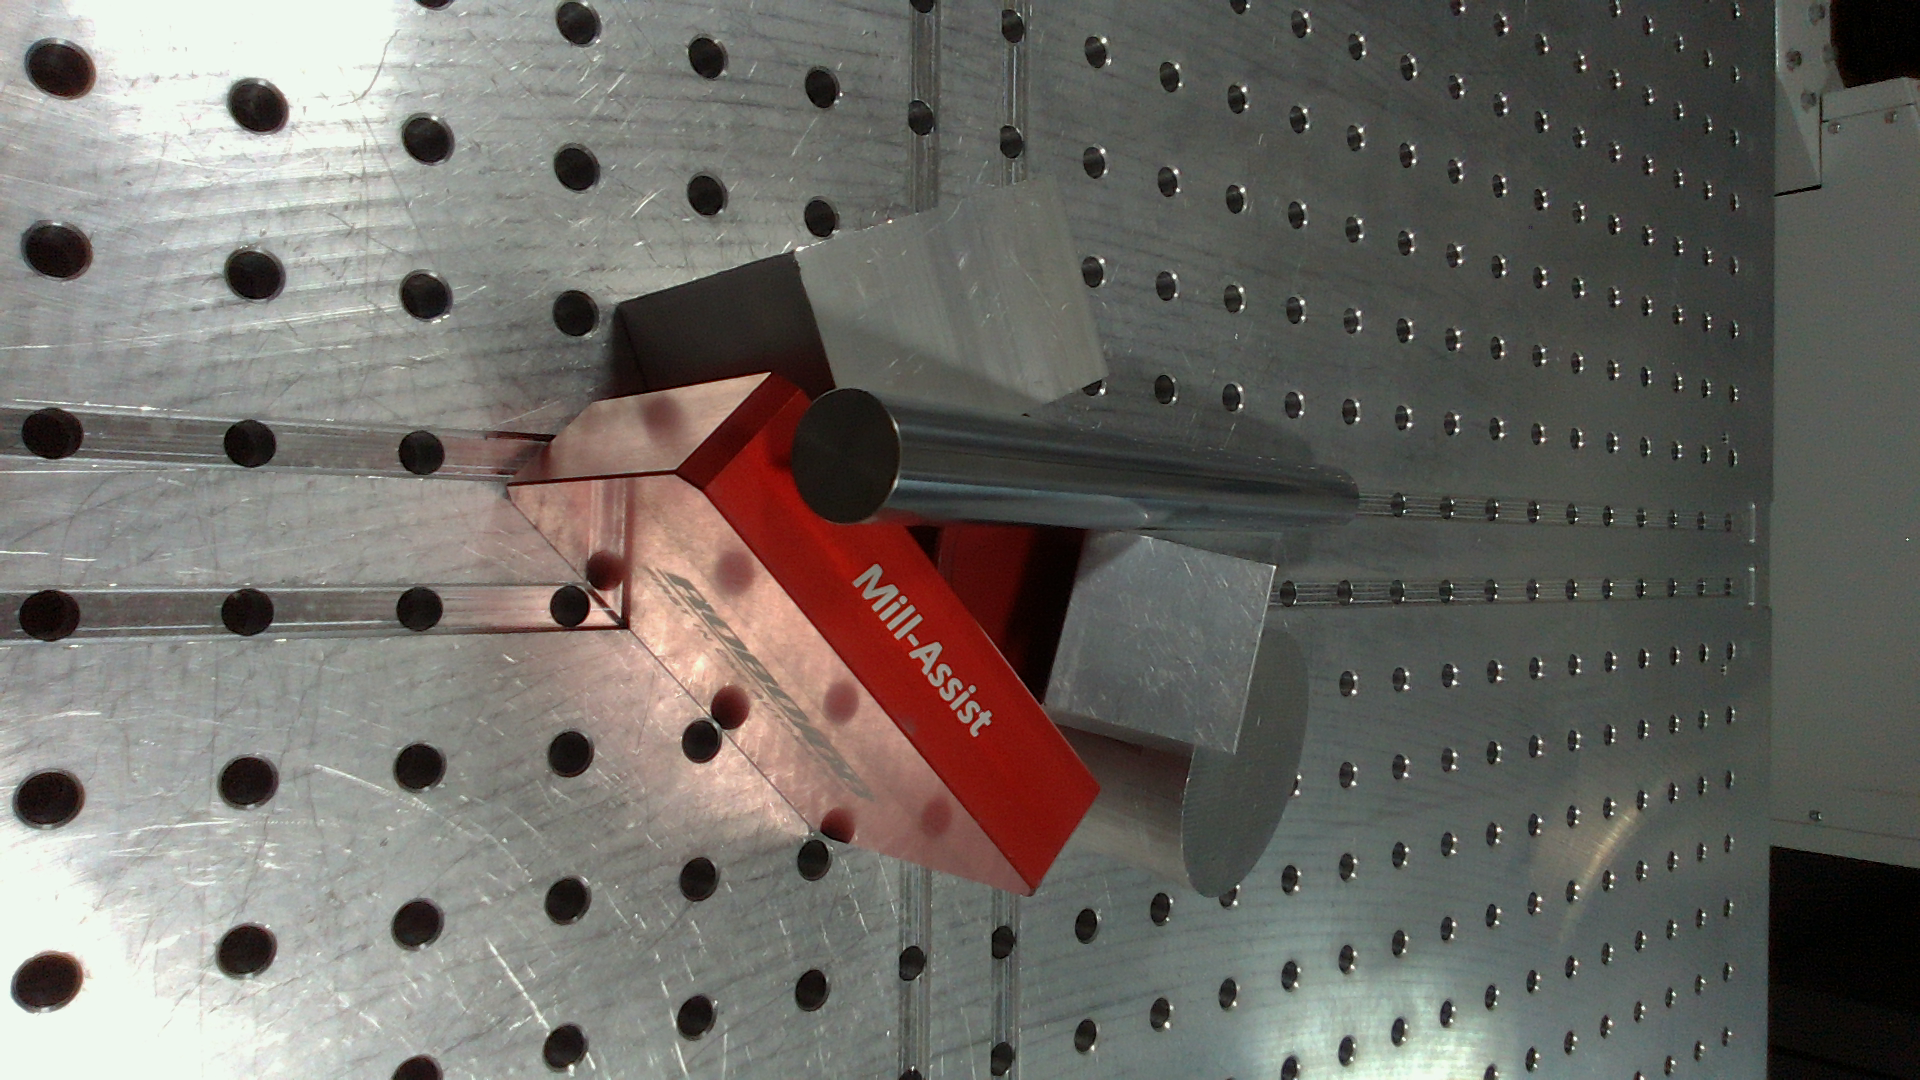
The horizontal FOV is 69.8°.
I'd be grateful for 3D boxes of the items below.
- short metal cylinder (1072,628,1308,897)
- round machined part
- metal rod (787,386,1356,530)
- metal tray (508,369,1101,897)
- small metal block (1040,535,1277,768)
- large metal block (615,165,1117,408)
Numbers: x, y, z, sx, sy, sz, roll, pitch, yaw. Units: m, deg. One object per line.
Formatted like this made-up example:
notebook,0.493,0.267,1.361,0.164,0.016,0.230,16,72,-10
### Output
short metal cylinder,0.064,0.060,0.414,0.080,0.050,0.080,-25,122,-48
round machined part,0.005,0.009,0.388,0.098,0.042,0.098,0,90,-40
metal rod,0.056,-0.015,0.377,0.301,0.025,0.025,0,90,-59
metal tray,-0.036,0.024,0.319,0.030,0.090,0.130,-51,120,-28
small metal block,0.052,0.028,0.362,0.025,0.050,0.050,72,33,-72
large metal block,-0.023,-0.050,0.335,0.080,0.080,0.050,-27,107,-37
